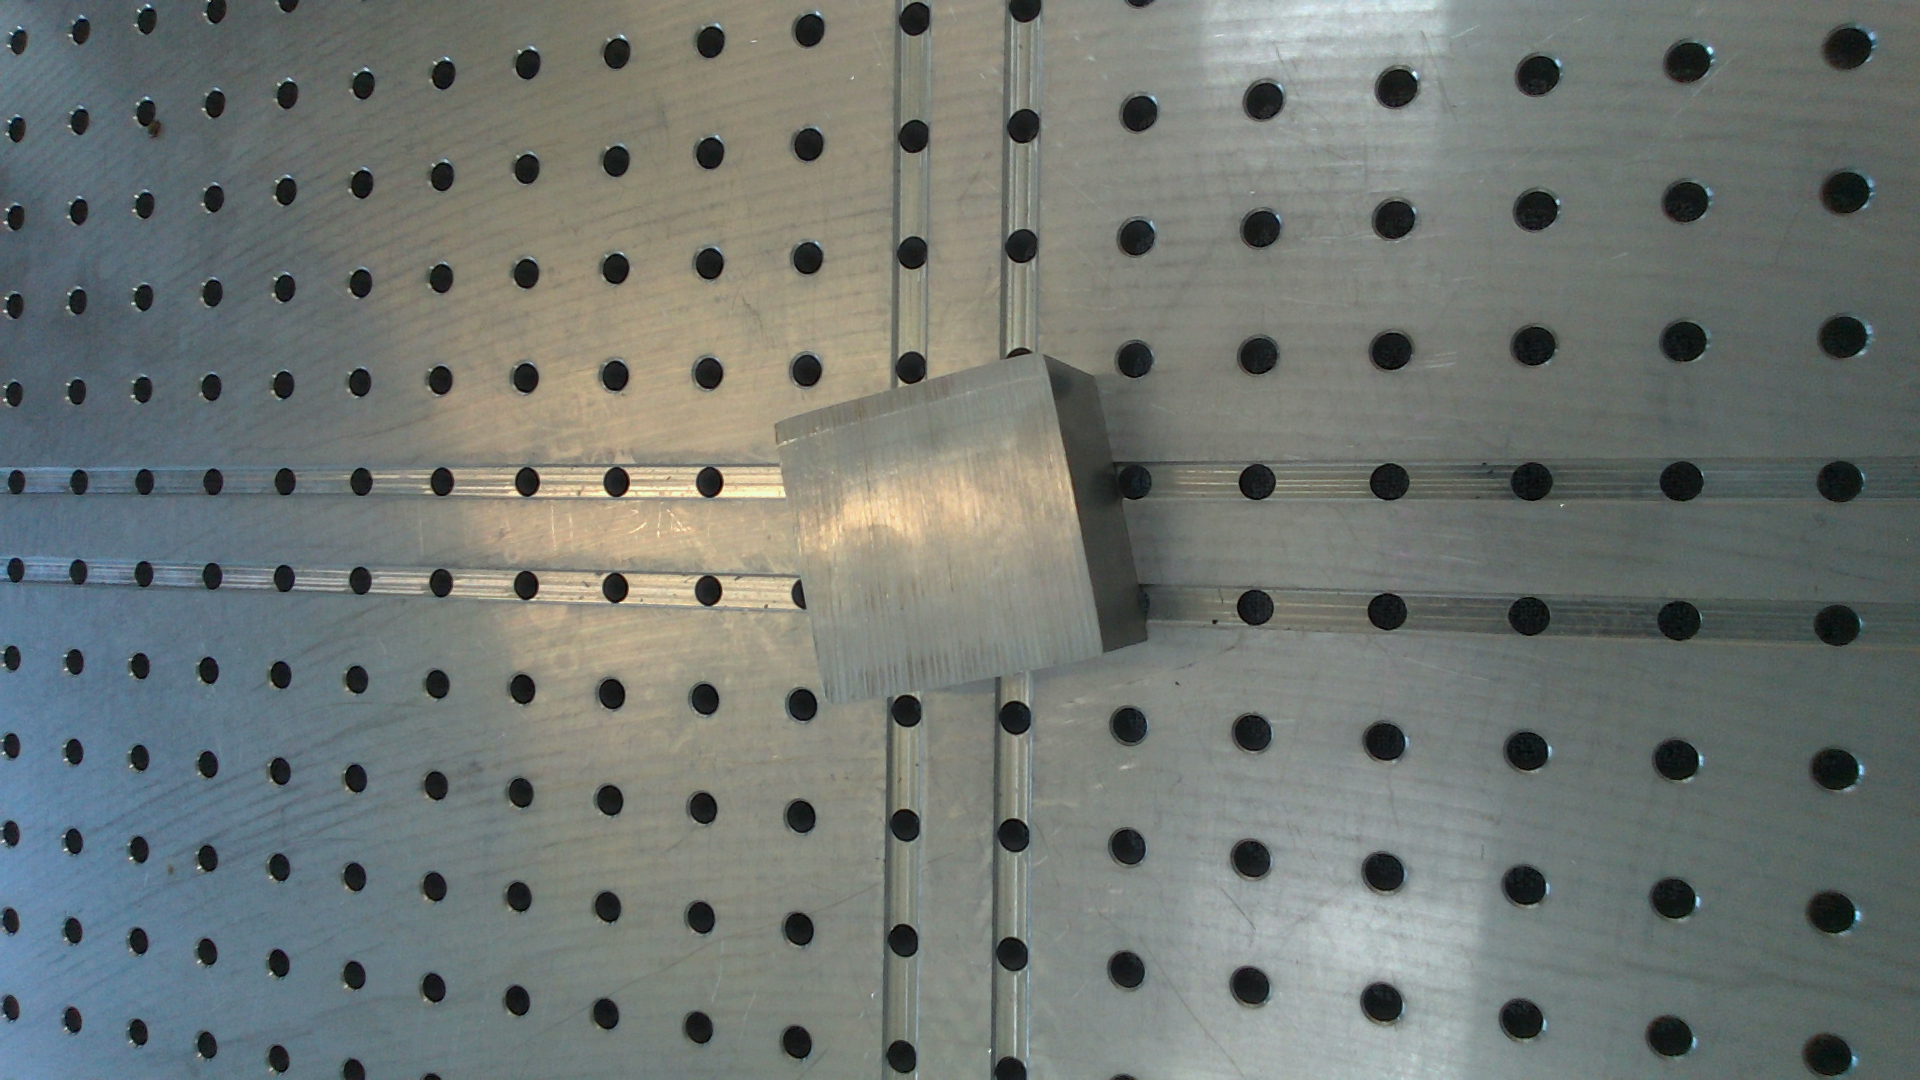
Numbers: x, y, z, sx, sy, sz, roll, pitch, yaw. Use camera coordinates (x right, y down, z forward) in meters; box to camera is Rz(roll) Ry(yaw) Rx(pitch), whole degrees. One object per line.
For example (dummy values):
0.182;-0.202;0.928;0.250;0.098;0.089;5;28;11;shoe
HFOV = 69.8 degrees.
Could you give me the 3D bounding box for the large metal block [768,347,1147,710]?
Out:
0.001;-0.002;0.384;0.080;0.050;0.080;-13;86;20;large metal block
